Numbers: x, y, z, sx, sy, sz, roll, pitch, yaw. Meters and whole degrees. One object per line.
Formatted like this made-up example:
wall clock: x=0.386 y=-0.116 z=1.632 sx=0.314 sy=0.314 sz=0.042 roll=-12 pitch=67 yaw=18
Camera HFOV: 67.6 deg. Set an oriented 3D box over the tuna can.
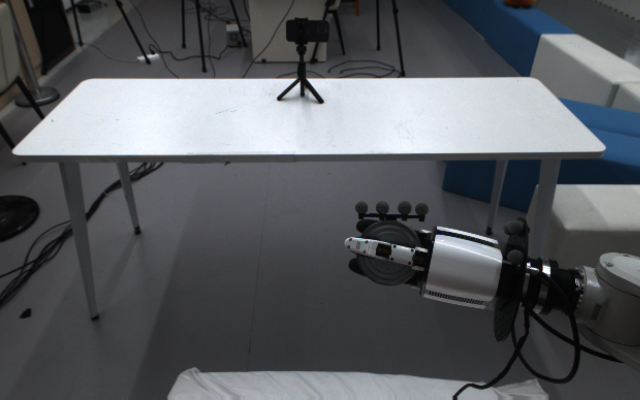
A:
tuna can: x=0.094 y=0.068 z=0.641 sx=0.085 sy=0.085 sz=0.034 roll=13 pitch=-3 yaw=16
